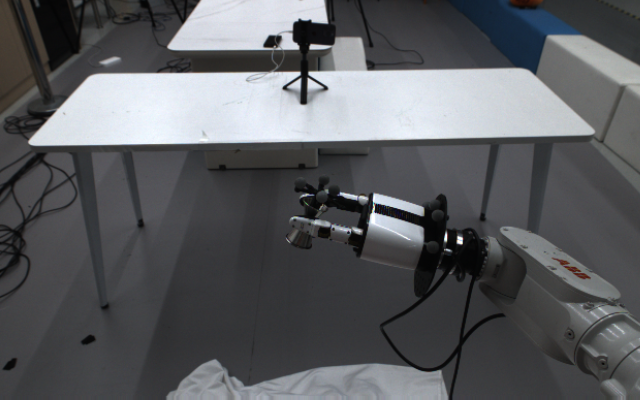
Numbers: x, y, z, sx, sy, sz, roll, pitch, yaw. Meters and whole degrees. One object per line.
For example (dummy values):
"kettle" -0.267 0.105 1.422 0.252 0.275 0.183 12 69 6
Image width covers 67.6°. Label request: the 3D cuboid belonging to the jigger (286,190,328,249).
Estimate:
"jigger" -0.021 0.034 0.728 0.043 0.071 0.043 23 19 -8
